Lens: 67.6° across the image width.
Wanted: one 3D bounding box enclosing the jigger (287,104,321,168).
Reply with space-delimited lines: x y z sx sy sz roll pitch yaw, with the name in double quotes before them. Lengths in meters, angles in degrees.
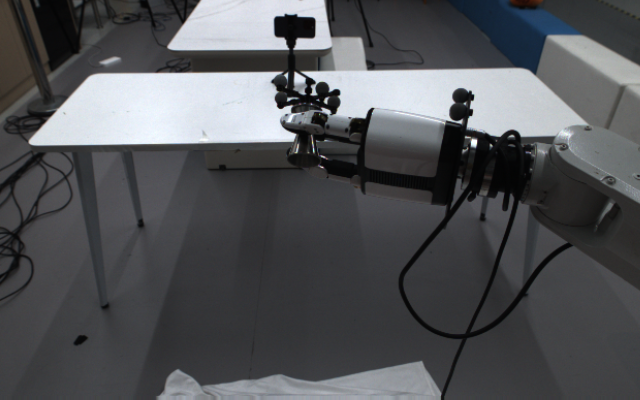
"jigger" -0.019 -0.081 0.595 0.043 0.043 0.071 3 72 1
